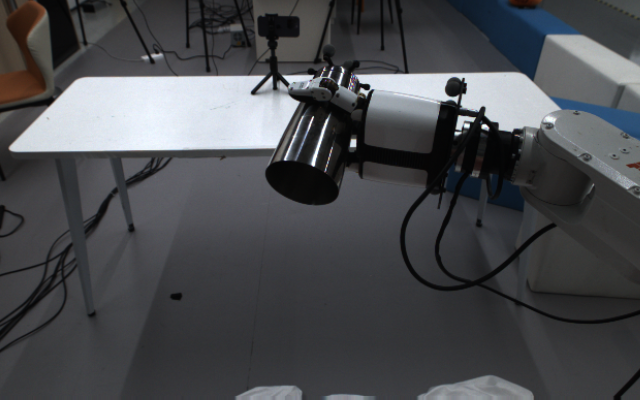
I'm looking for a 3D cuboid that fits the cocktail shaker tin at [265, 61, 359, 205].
[{"bbox_3d":[0.002,-0.089,0.614,0.093,0.093,0.170,11,60,12],"label":"cocktail shaker tin"}]
